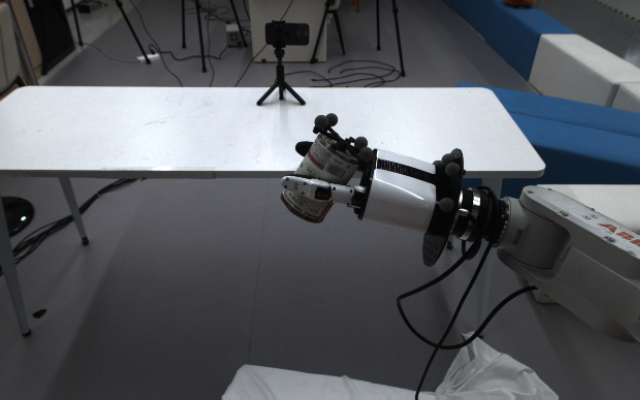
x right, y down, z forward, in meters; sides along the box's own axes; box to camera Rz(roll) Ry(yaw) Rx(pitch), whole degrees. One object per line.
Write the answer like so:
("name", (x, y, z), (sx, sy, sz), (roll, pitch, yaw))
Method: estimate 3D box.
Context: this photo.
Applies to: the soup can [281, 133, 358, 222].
("soup can", (0.003, -0.029, 0.638), (0.067, 0.101, 0.067), (28, 22, -12))
